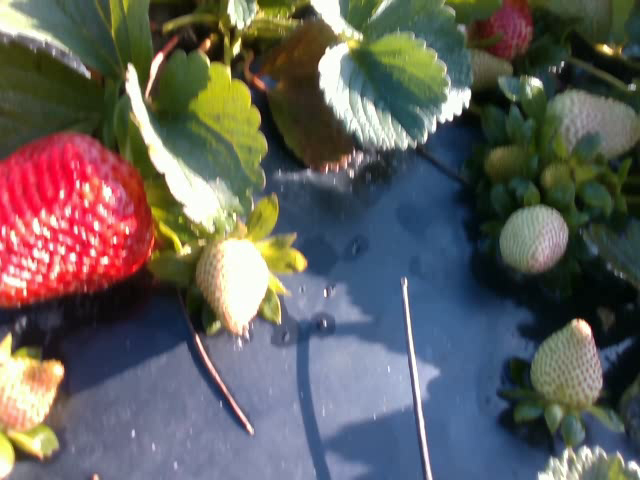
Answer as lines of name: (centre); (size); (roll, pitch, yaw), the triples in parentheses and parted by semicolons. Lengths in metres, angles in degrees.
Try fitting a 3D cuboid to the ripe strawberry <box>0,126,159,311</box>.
ripe strawberry: (-0.079, -0.005, 0.204); (0.056, 0.055, 0.072); (-5, 29, 25)
